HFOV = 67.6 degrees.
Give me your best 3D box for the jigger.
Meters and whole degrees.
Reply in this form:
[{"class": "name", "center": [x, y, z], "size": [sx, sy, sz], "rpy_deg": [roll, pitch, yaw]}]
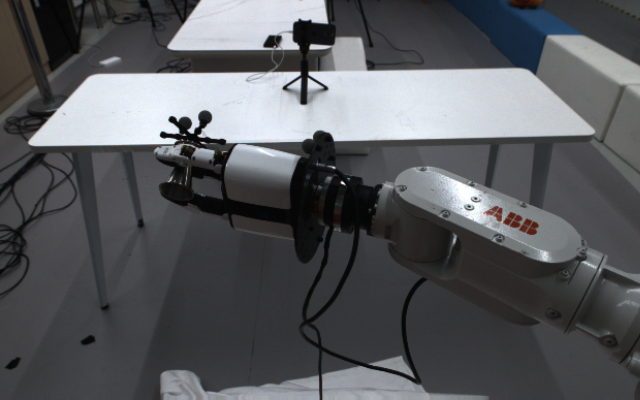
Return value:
[{"class": "jigger", "center": [-0.179, -0.039, 0.625], "size": [0.043, 0.043, 0.071], "rpy_deg": [6, 60, 6]}]
